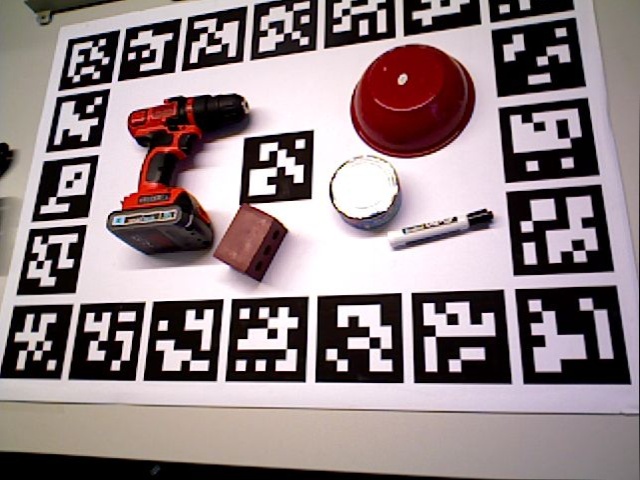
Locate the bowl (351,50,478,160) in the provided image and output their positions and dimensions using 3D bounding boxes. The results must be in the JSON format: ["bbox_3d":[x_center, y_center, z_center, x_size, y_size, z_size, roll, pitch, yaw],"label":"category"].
[{"bbox_3d":[0.111,-0.182,0.675,0.162,0.055,0.160,-8,63,16],"label":"bowl"}]

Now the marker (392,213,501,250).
[{"bbox_3d":[0.143,-0.010,0.617,0.121,0.020,0.019,-13,70,11],"label":"marker"}]

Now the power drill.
[{"bbox_3d":[-0.192,-0.091,0.726,0.185,0.058,0.185,-4,69,11],"label":"power drill"}]

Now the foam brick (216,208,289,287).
[{"bbox_3d":[-0.082,0.010,0.667,0.051,0.053,0.078,22,80,19],"label":"foam brick"}]

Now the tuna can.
[{"bbox_3d":[0.060,-0.056,0.649,0.086,0.034,0.085,-4,71,12],"label":"tuna can"}]
